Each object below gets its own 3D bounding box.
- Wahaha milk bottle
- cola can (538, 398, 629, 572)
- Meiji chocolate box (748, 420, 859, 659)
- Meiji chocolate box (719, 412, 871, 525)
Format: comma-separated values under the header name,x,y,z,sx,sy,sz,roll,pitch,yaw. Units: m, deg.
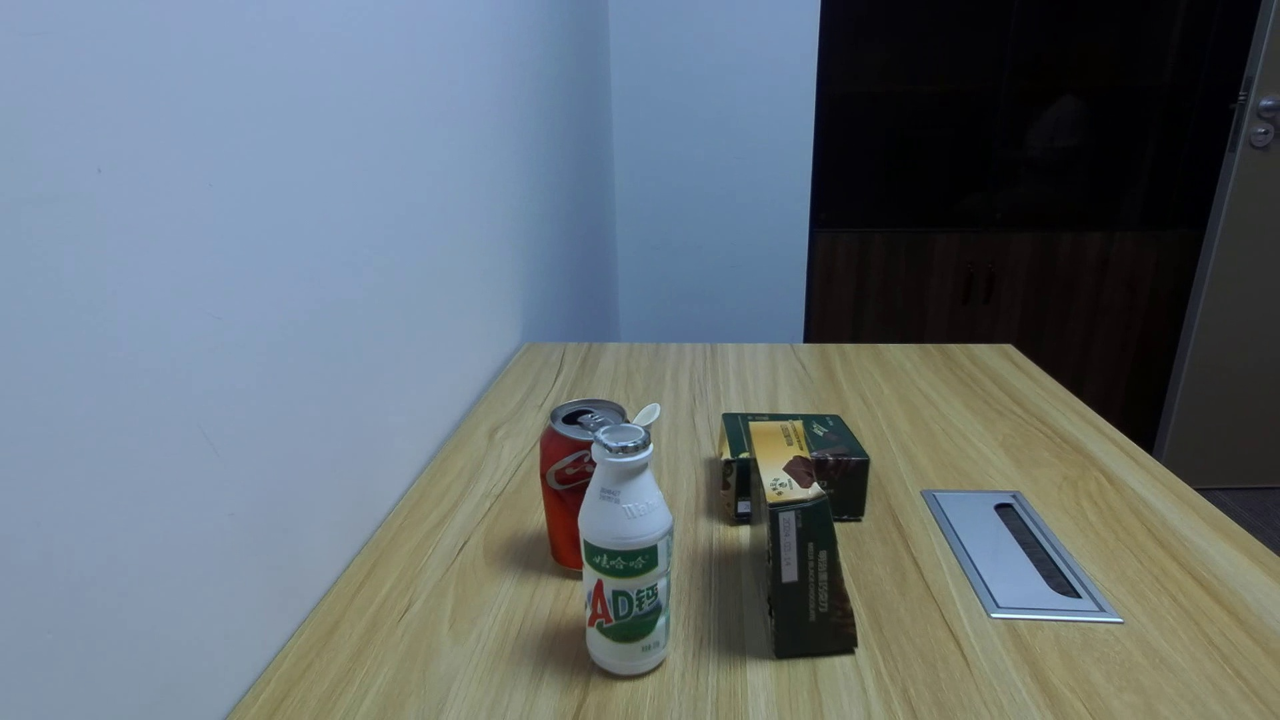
name,x,y,z,sx,sy,sz,roll,pitch,yaw
Wahaha milk bottle,-0.007,0.108,0.407,0.056,0.148,0.056,-2,20,1
cola can,-0.033,0.090,0.515,0.072,0.117,0.065,-3,19,-6
Meiji chocolate box,0.098,0.108,0.454,0.051,0.117,0.117,-9,18,4
Meiji chocolate box,0.127,0.087,0.604,0.122,0.058,0.115,0,17,1
